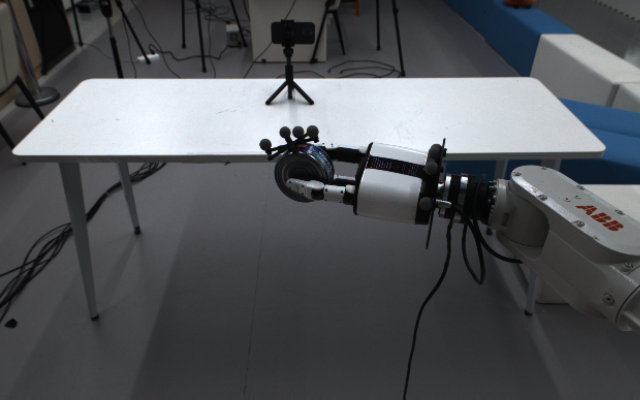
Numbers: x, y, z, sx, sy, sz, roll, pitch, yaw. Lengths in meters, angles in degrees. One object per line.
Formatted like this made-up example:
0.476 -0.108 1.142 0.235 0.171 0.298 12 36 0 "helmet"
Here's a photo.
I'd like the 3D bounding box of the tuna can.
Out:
-0.021 -0.034 0.717 0.085 0.085 0.034 11 34 13 "tuna can"
